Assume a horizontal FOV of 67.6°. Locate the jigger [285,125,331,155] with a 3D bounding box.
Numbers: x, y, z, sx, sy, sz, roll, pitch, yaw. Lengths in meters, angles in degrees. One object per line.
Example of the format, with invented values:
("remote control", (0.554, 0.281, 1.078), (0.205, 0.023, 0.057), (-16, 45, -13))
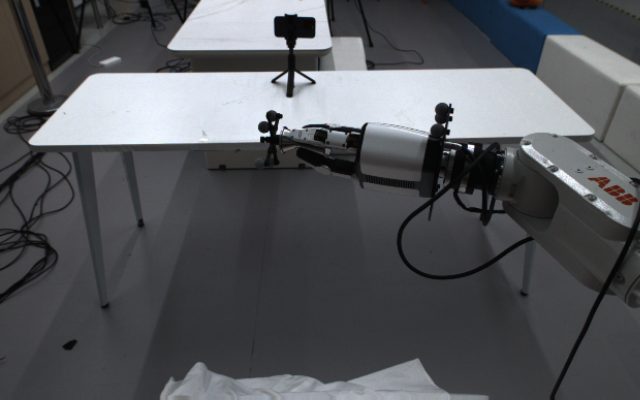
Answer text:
("jigger", (-0.015, -0.088, 0.699), (0.071, 0.043, 0.043), (5, 34, 14))
